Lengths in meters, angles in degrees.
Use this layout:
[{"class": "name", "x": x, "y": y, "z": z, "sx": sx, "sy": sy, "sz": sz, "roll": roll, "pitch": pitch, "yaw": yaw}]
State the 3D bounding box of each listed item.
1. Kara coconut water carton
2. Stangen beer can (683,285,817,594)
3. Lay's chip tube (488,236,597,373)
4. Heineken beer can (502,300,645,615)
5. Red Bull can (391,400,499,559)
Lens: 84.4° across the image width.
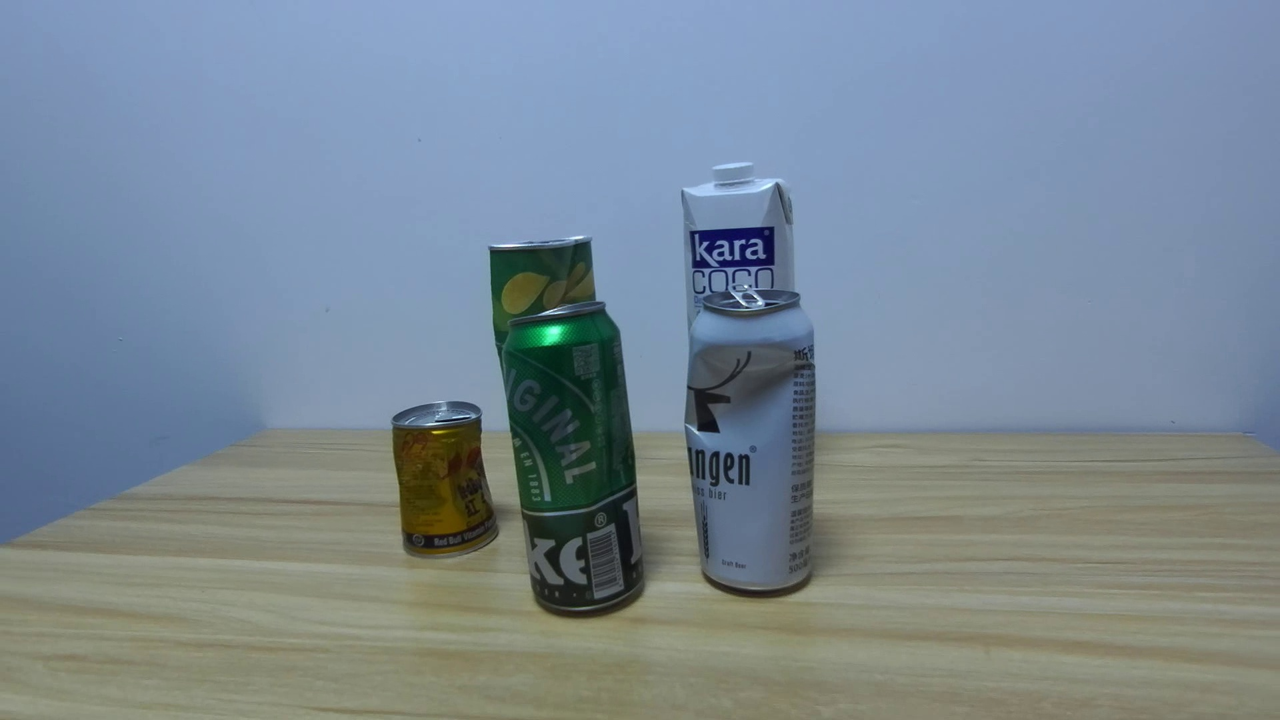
[{"class": "Kara coconut water carton", "x": 0.079, "y": -0.023, "z": 0.531, "sx": 0.077, "sy": 0.245, "sz": 0.075, "roll": -1, "pitch": 15, "yaw": 21}, {"class": "Stangen beer can", "x": 0.064, "y": 0.045, "z": 0.402, "sx": 0.070, "sy": 0.173, "sz": 0.070, "roll": -9, "pitch": 14, "yaw": -23}, {"class": "Lay's chip tube", "x": -0.063, "y": 0.011, "z": 0.533, "sx": 0.069, "sy": 0.199, "sz": 0.075, "roll": -5, "pitch": 9, "yaw": 3}, {"class": "Heineken beer can", "x": -0.037, "y": 0.056, "z": 0.401, "sx": 0.068, "sy": 0.168, "sz": 0.069, "roll": -8, "pitch": 9, "yaw": -13}, {"class": "Red Bull can", "x": -0.134, "y": 0.081, "z": 0.487, "sx": 0.072, "sy": 0.092, "sz": 0.072, "roll": -3, "pitch": 11, "yaw": 1}]
